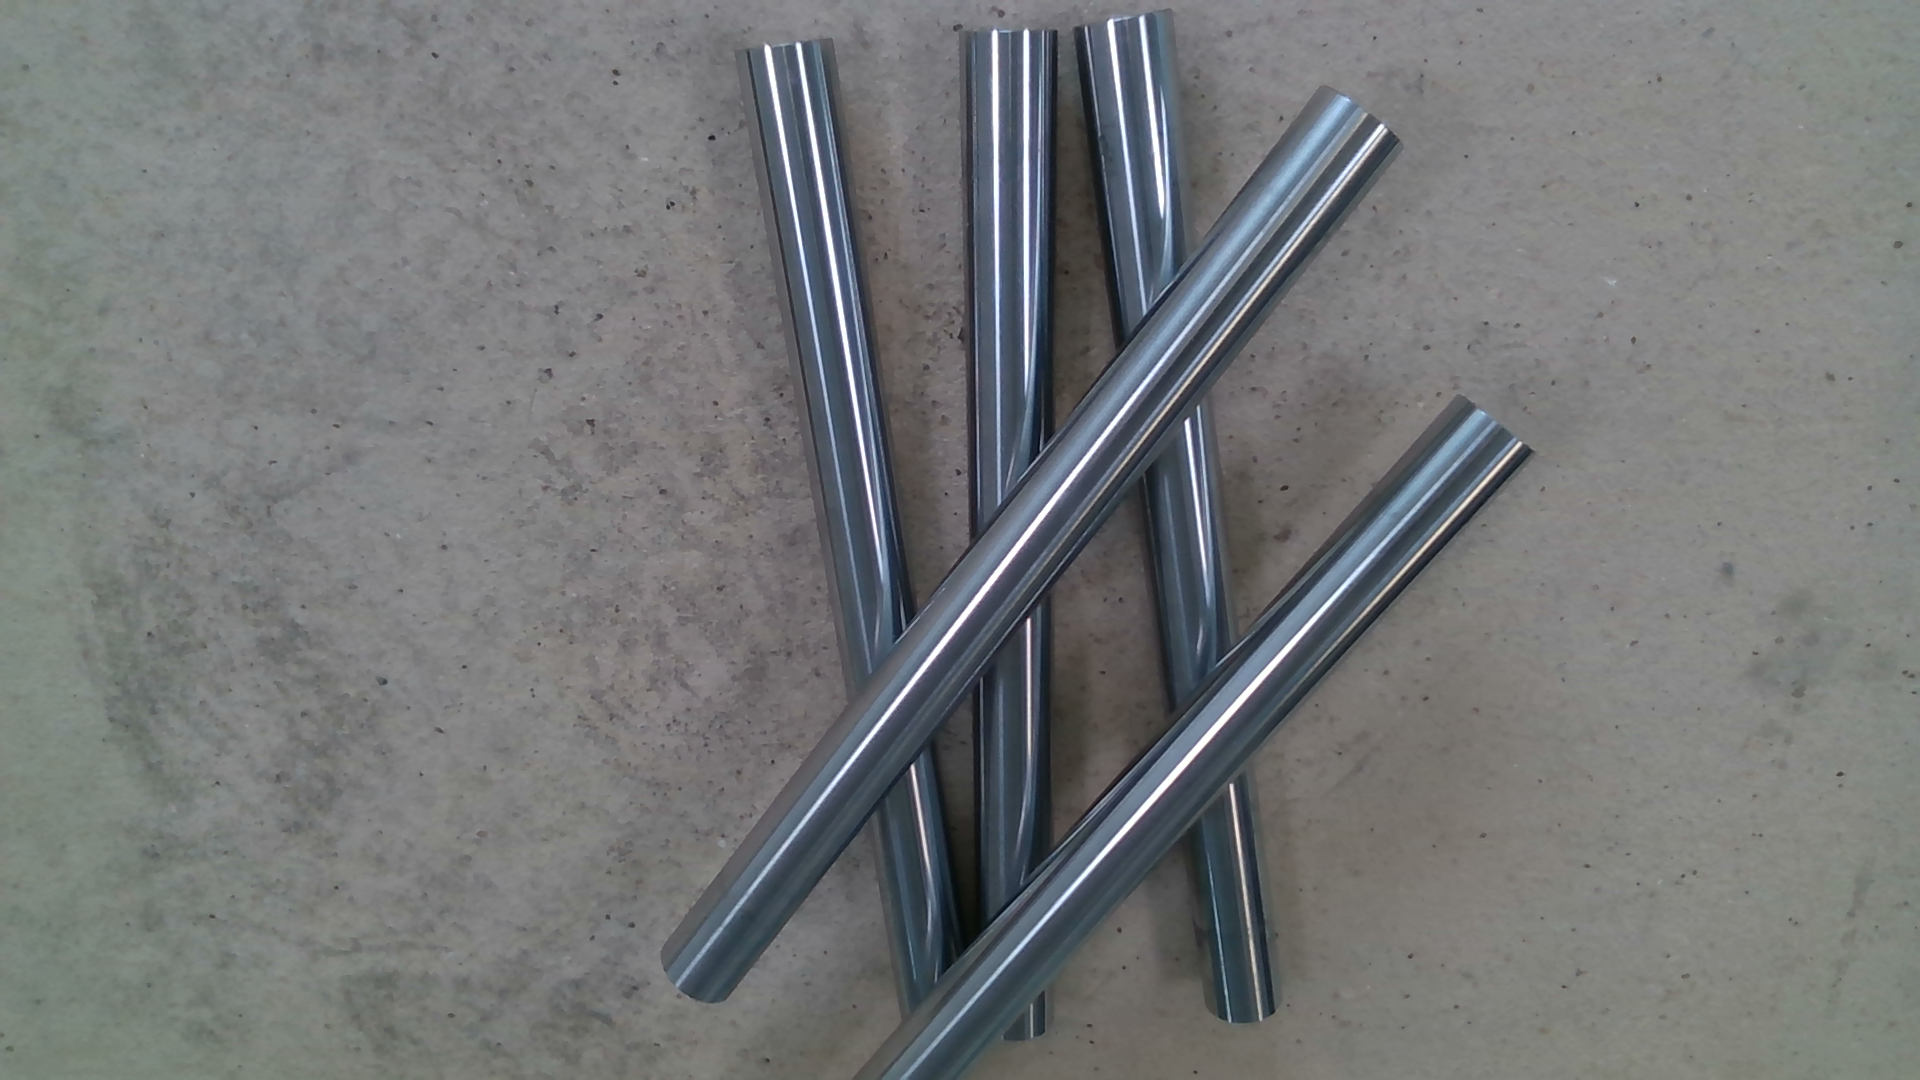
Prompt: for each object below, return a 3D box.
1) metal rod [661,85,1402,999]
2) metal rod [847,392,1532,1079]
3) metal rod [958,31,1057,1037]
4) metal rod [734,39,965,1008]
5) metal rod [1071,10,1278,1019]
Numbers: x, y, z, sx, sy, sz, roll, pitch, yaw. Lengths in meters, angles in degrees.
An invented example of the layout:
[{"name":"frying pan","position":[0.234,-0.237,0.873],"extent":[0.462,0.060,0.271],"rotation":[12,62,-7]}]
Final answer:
[{"name":"metal rod","position":[0.008,0.013,0.372],"extent":[0.025,0.025,0.300],"rotation":[34,107,-11]},{"name":"metal rod","position":[0.049,0.083,0.398],"extent":[0.025,0.025,0.300],"rotation":[35,106,-12]},{"name":"metal rod","position":[0.015,0.013,0.398],"extent":[0.025,0.025,0.301],"rotation":[-1,110,0]},{"name":"metal rod","position":[-0.025,0.015,0.399],"extent":[0.025,0.025,0.301],"rotation":[-7,110,3]},{"name":"metal rod","position":[0.066,0.008,0.397],"extent":[0.025,0.025,0.301],"rotation":[-9,110,3]}]
